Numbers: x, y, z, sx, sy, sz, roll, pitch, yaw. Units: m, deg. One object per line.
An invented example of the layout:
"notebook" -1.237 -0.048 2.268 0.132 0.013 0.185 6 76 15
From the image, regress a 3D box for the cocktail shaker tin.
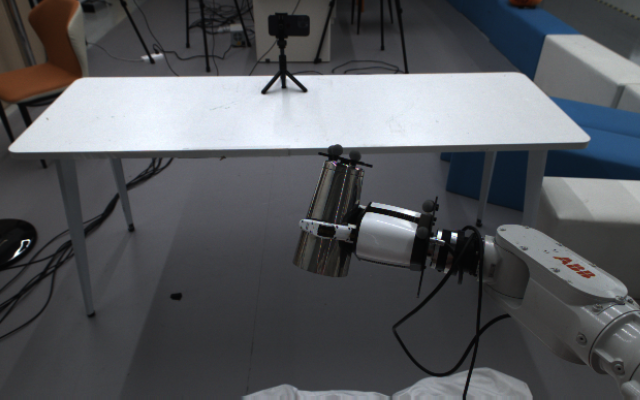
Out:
"cocktail shaker tin" 0.020 0.027 0.772 0.093 0.170 0.093 13 5 -1
